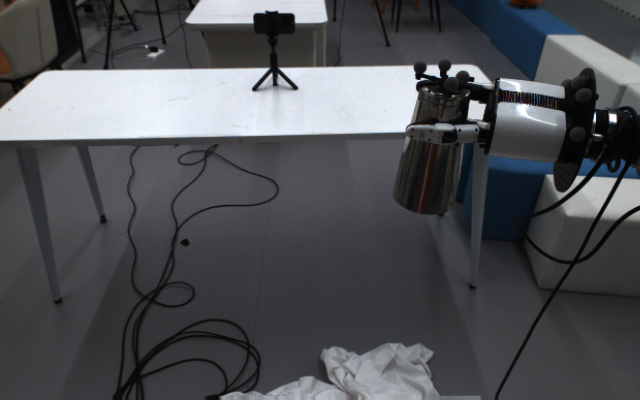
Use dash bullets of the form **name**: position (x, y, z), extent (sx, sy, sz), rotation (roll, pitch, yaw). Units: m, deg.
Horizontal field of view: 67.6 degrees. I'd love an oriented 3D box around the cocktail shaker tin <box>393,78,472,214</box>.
- **cocktail shaker tin**: position (0.162, -0.079, 0.681), extent (0.093, 0.170, 0.093), rotation (3, 33, -2)
